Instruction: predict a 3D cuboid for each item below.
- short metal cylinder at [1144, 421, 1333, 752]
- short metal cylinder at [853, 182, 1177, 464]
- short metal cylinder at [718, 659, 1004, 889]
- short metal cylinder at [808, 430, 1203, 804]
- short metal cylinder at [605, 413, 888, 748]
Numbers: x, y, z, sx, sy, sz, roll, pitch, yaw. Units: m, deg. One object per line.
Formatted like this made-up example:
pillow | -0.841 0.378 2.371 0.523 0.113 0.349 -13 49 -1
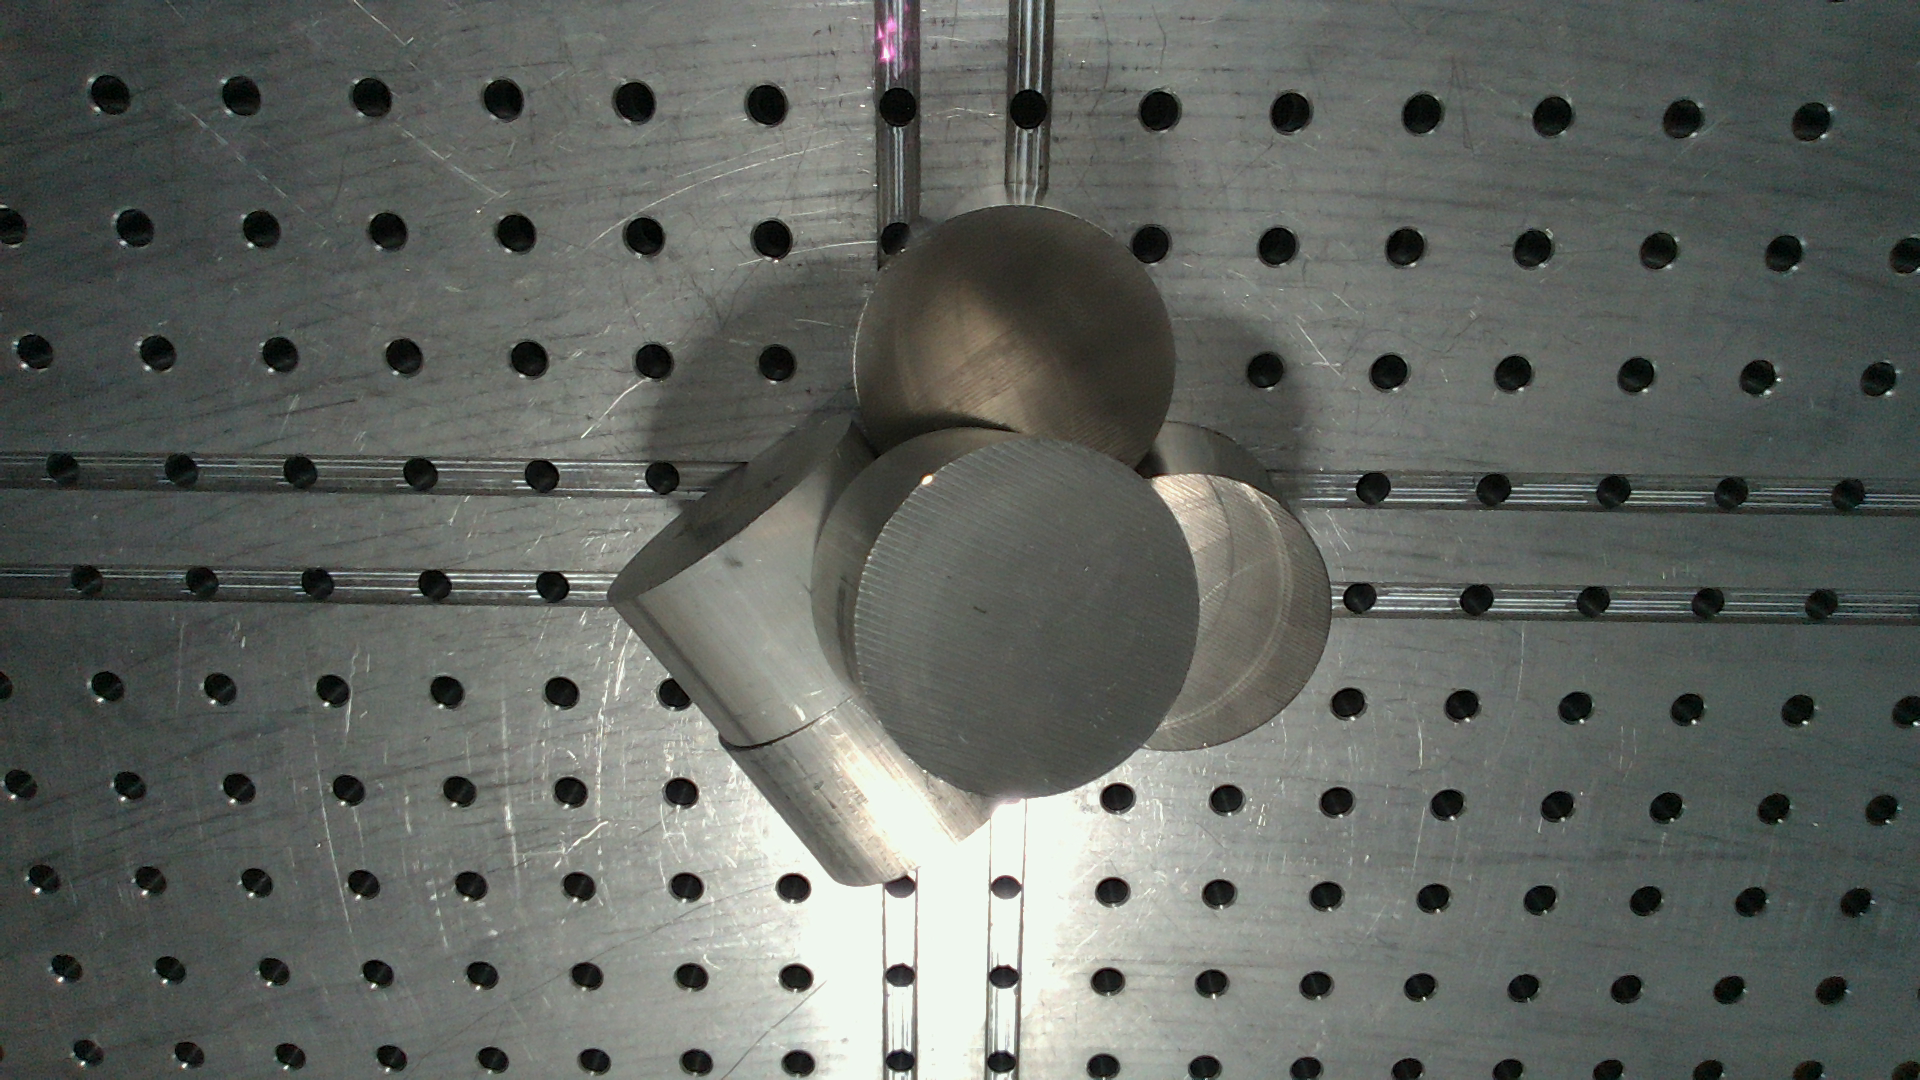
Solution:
short metal cylinder | 0.059 0.012 0.387 0.080 0.050 0.080 0 110 0
short metal cylinder | 0.014 -0.051 0.363 0.080 0.050 0.080 0 110 0
short metal cylinder | -0.020 0.050 0.385 0.080 0.080 0.050 -32 107 11
short metal cylinder | 0.009 0.015 0.320 0.080 0.050 0.080 -2 98 -17
short metal cylinder | -0.047 0.010 0.371 0.080 0.080 0.050 -32 107 11
